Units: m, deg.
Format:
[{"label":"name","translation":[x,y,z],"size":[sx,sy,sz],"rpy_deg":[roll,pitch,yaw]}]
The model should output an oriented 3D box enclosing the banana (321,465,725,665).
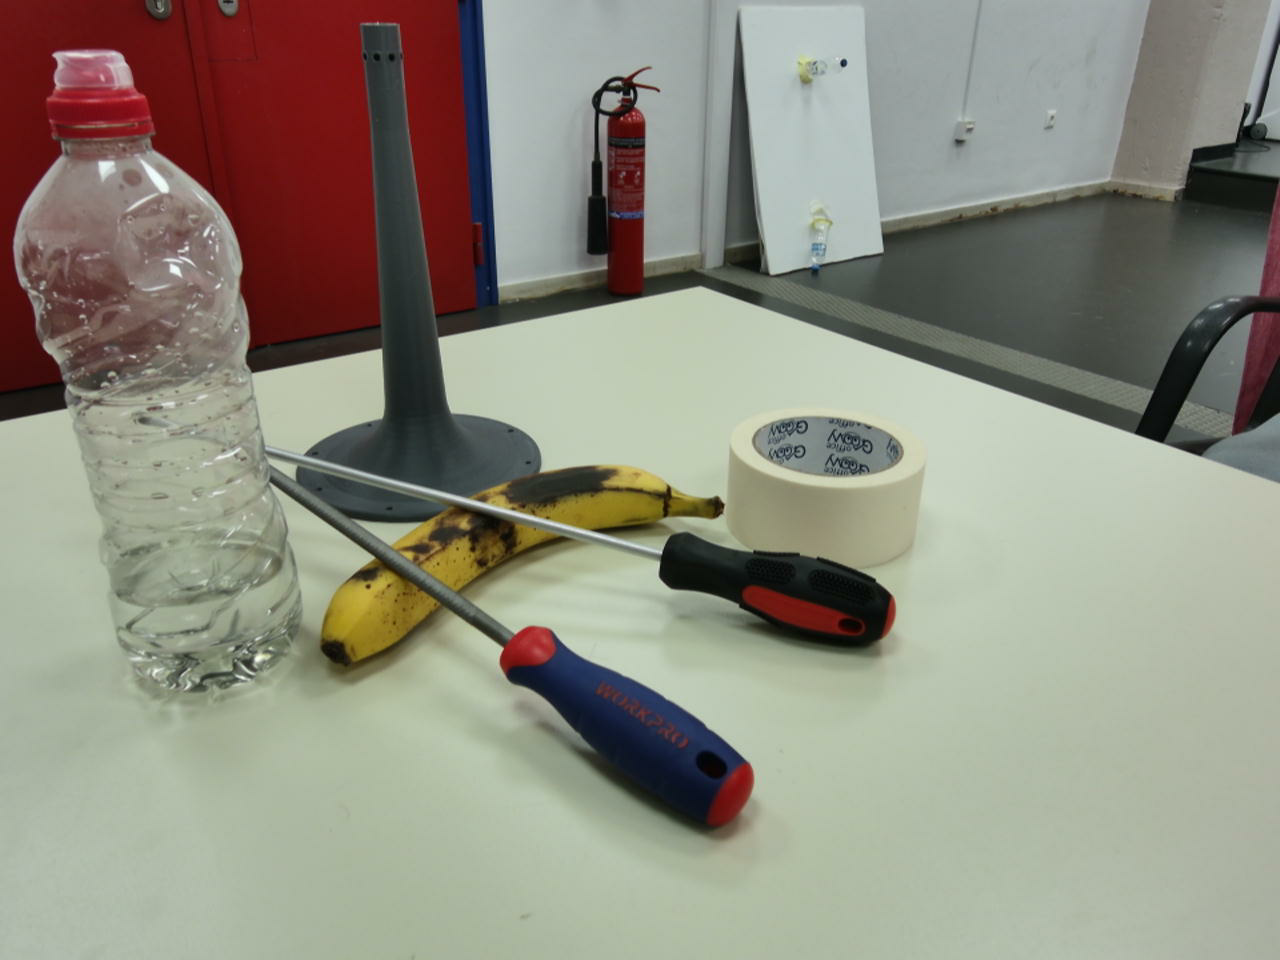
[{"label":"banana","translation":[-0.065,0.030,0.503],"size":[0.222,0.037,0.084],"rpy_deg":[-17,30,-34]}]
